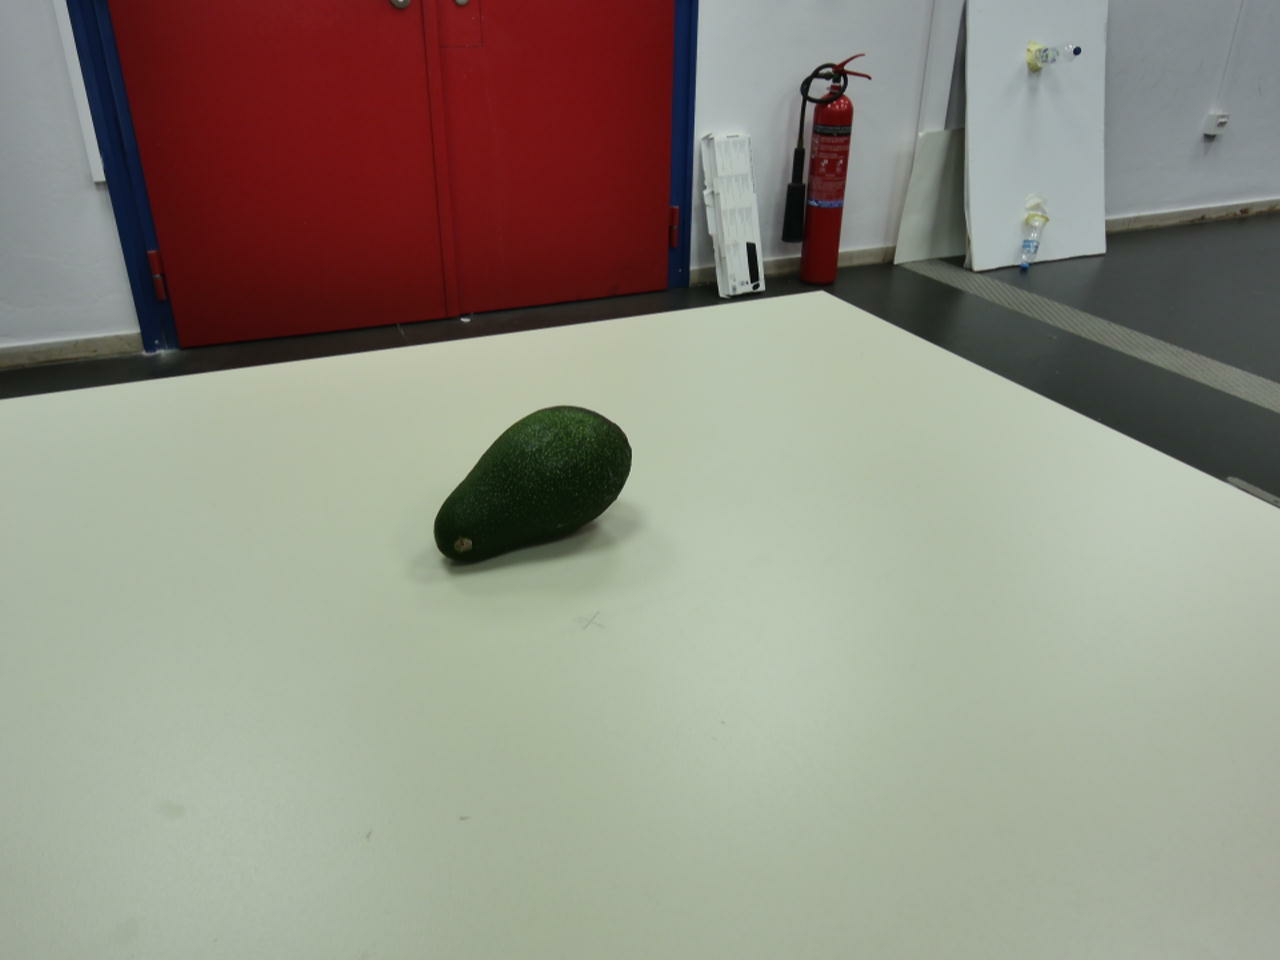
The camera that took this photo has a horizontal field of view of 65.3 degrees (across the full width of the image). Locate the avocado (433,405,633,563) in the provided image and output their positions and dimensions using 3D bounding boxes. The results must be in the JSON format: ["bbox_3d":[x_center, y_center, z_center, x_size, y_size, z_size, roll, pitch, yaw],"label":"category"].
[{"bbox_3d":[-0.064,-0.002,0.583,0.123,0.076,0.074,-7,27,-17],"label":"avocado"}]
